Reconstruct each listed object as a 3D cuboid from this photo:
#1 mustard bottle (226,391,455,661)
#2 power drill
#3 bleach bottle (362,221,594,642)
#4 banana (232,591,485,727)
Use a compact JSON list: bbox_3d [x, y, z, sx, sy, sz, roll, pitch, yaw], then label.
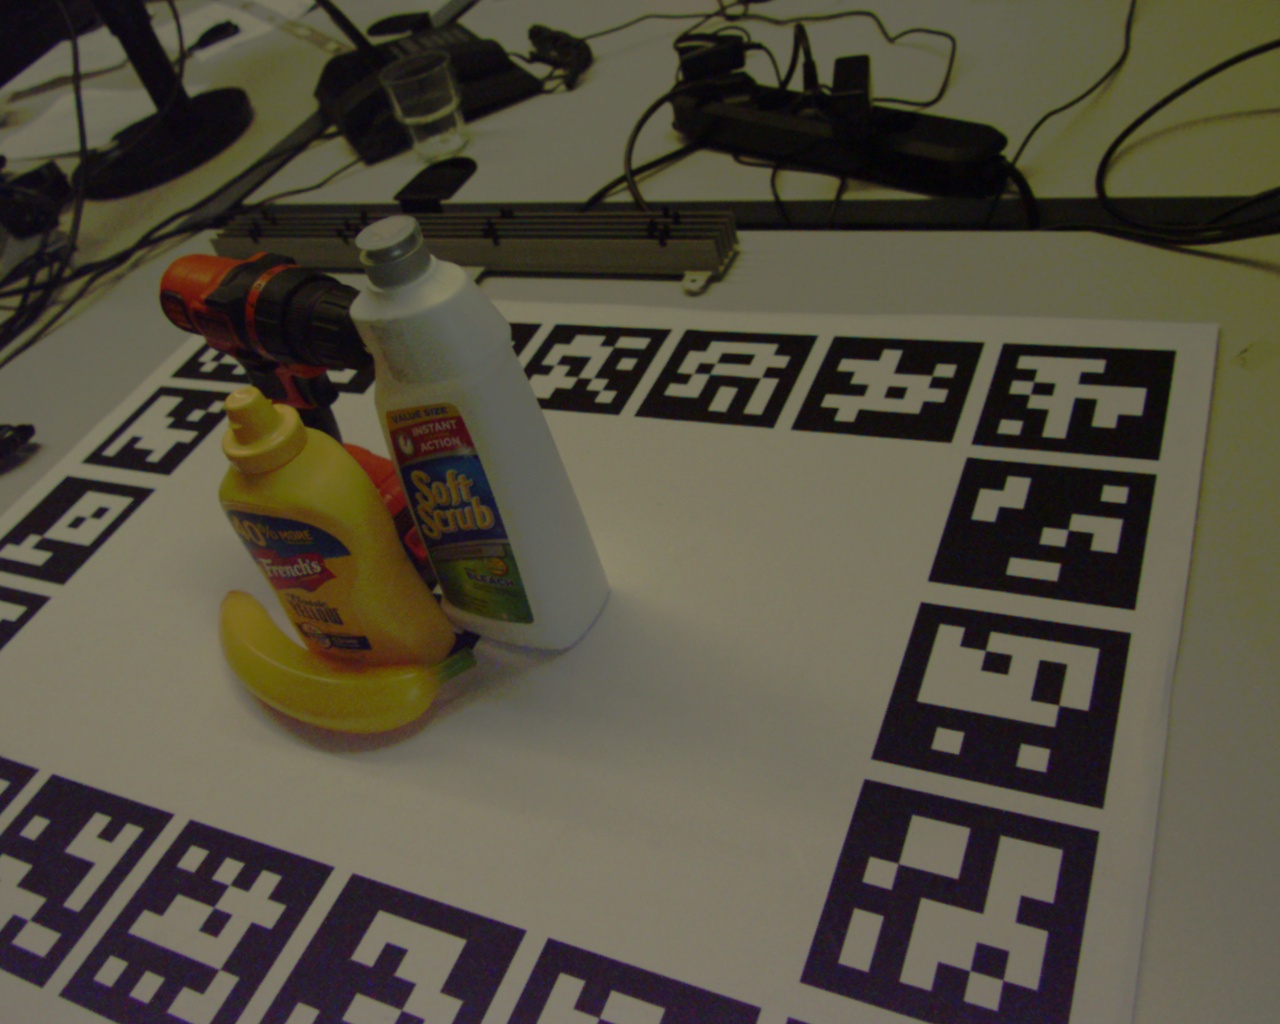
[{"bbox_3d":[-0.179,0.010,0.644,0.097,0.190,0.058,8,49,26],"label":"mustard bottle"},{"bbox_3d":[-0.193,-0.059,0.691,0.187,0.185,0.057,19,53,33],"label":"power drill"},{"bbox_3d":[-0.099,-0.040,0.630,0.104,0.249,0.067,10,43,28],"label":"bleach bottle"},{"bbox_3d":[-0.188,0.088,0.692,0.200,0.038,0.074,10,51,32],"label":"banana"}]
